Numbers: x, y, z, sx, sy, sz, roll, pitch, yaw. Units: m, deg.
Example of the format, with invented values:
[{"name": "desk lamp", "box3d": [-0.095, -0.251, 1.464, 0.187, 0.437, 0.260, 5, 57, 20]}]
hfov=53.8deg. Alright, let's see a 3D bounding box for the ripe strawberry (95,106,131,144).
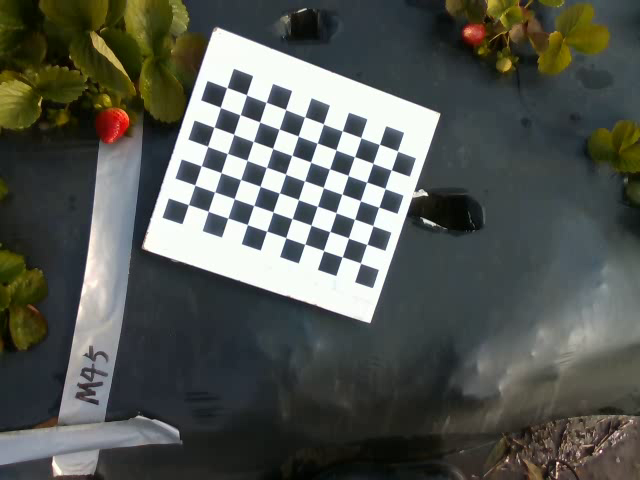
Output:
[{"name": "ripe strawberry", "box3d": [-0.221, -0.119, 0.667, 0.050, 0.055, 0.036, 13, -20, -13]}]
